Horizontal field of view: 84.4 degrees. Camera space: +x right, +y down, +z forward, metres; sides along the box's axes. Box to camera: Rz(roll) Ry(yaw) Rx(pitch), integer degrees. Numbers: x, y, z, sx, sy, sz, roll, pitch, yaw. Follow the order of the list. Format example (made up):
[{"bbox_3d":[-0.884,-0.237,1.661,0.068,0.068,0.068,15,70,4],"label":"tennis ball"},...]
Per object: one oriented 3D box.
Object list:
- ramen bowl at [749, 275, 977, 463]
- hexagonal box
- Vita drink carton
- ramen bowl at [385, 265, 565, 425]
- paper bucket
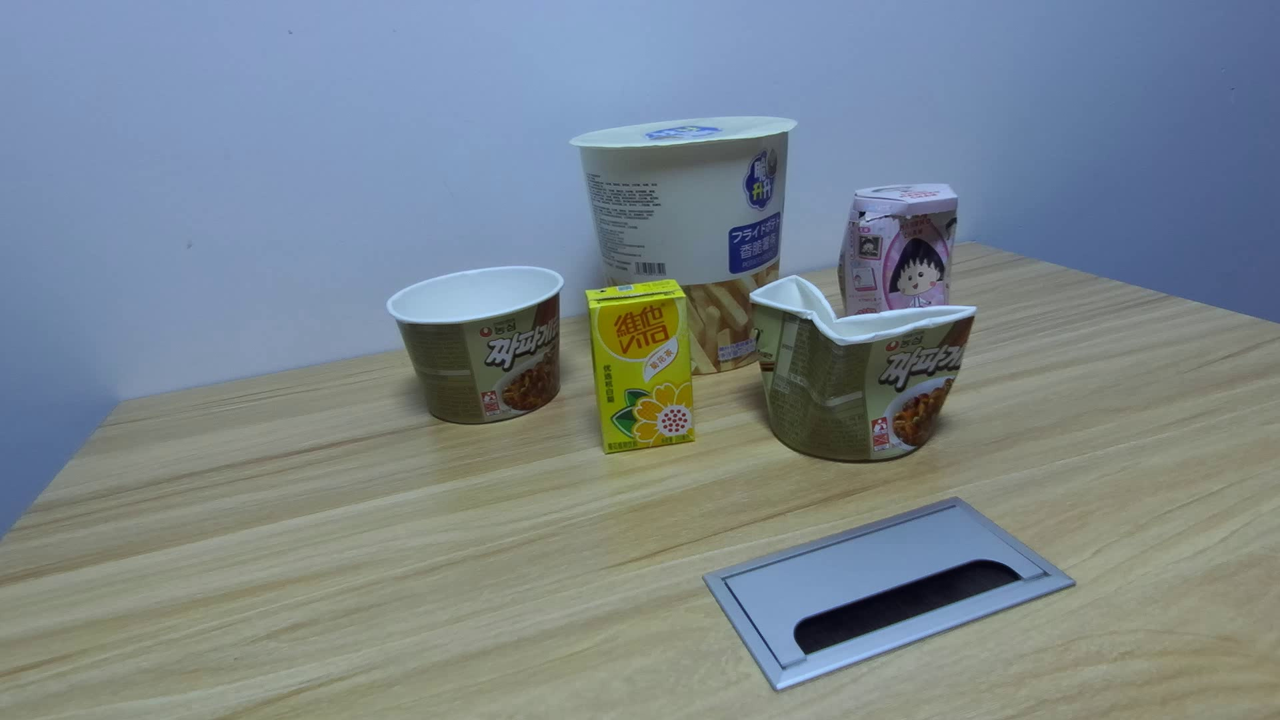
[{"bbox_3d":[0.141,0.000,0.486,0.112,0.093,0.127,-15,25,-21],"label":"ramen bowl"},{"bbox_3d":[0.219,-0.077,0.603,0.091,0.134,0.090,5,22,24],"label":"hexagonal box"},{"bbox_3d":[0.001,0.004,0.488,0.067,0.109,0.043,-7,24,-6],"label":"Vita drink carton"},{"bbox_3d":[-0.127,-0.014,0.586,0.140,0.095,0.140,-4,24,2],"label":"ramen bowl"},{"bbox_3d":[0.043,-0.102,0.624,0.198,0.195,0.198,-5,23,2],"label":"paper bucket"}]
